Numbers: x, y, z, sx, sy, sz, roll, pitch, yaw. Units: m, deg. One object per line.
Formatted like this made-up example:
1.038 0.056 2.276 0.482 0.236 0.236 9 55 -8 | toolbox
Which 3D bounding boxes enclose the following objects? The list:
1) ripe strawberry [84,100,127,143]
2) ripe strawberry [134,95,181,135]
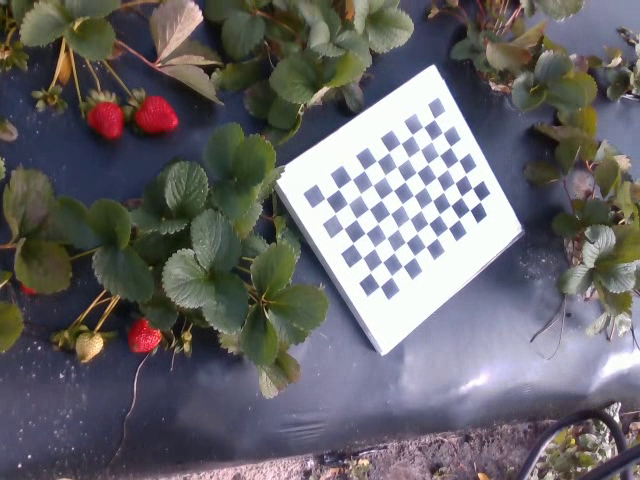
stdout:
-0.271 -0.151 0.792 0.048 0.056 0.041 -21 -17 -24 | ripe strawberry
-0.213 -0.164 0.813 0.064 0.058 0.051 28 -18 12 | ripe strawberry
